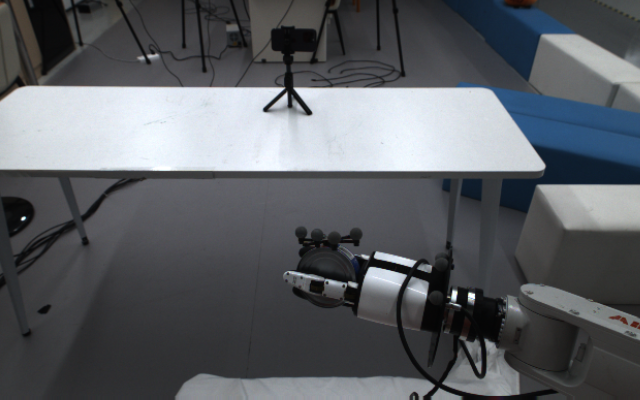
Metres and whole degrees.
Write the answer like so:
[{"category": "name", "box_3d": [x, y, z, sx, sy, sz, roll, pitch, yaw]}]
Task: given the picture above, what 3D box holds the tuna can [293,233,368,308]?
[{"category": "tuna can", "box_3d": [0.014, 0.103, 0.671, 0.085, 0.085, 0.034, 15, 10, 18]}]
